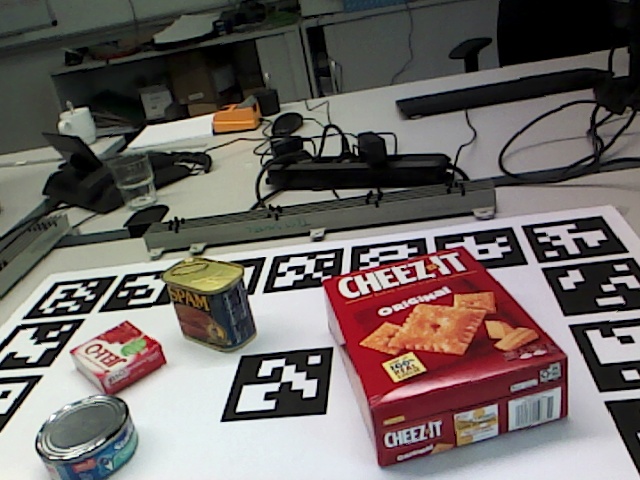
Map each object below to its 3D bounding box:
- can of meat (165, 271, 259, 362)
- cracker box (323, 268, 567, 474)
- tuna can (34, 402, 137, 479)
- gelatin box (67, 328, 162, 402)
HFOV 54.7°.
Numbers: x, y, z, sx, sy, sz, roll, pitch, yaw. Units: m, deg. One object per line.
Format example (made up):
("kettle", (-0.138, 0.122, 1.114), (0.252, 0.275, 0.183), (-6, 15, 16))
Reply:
("can of meat", (-0.125, 0.090, 0.727), (0.102, 0.083, 0.057), (6, 28, 37))
("cracker box", (0.105, 0.109, 0.596), (0.164, 0.072, 0.214), (-12, 22, -7))
("tuna can", (-0.216, 0.193, 0.574), (0.086, 0.033, 0.086), (-10, 27, 5))
("gelatin box", (-0.236, 0.140, 0.710), (0.073, 0.030, 0.090), (-26, 30, -37))
